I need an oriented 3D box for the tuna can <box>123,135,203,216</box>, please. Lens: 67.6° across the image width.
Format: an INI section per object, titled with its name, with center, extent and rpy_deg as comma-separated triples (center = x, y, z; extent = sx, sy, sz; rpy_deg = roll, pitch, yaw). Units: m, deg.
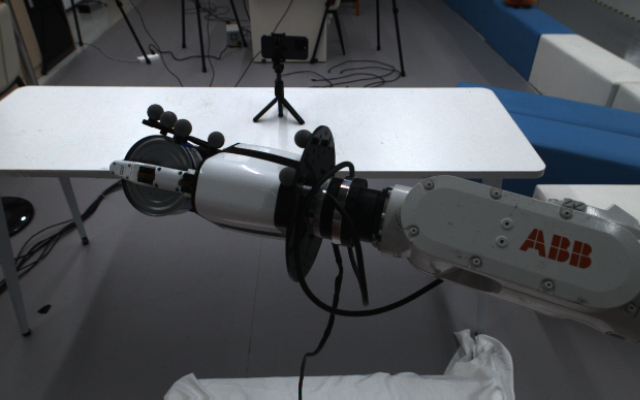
[tuna can]
center = -0.164, -0.025, 0.520
extent = 0.085, 0.085, 0.034
rpy_deg = 13, 3, 15
